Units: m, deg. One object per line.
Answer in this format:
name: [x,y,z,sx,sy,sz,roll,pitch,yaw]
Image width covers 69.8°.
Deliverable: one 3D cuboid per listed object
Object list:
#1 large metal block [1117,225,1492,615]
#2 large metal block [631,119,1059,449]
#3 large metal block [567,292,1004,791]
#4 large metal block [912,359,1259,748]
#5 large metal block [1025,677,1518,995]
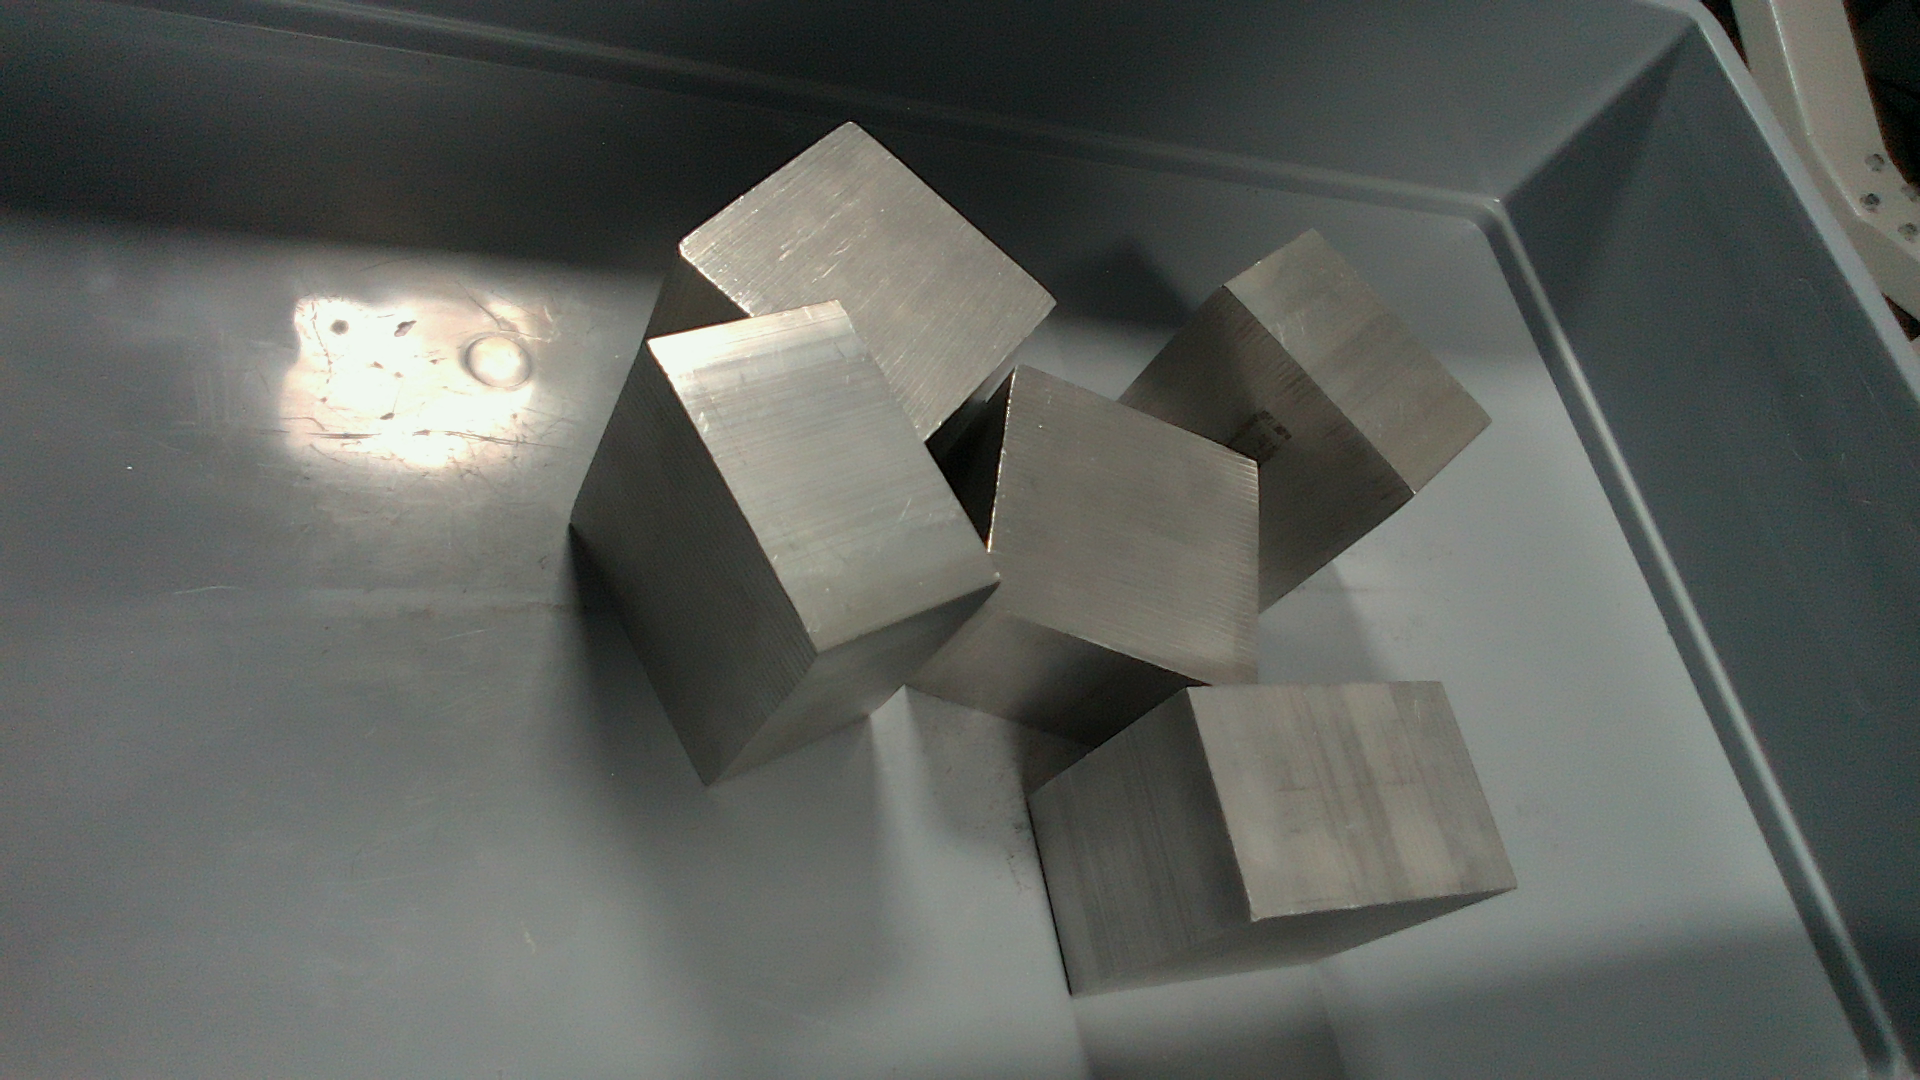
large metal block: [0.099,-0.035,0.427,0.080,0.080,0.050,49,51,7]
large metal block: [-0.032,-0.060,0.391,0.080,0.050,0.080,41,51,0]
large metal block: [-0.046,0.002,0.328,0.050,0.080,0.080,-20,72,-36]
large metal block: [0.036,0.008,0.387,0.080,0.050,0.080,20,54,-16]
large metal block: [0.075,0.075,0.348,0.080,0.080,0.050,1,61,-28]
